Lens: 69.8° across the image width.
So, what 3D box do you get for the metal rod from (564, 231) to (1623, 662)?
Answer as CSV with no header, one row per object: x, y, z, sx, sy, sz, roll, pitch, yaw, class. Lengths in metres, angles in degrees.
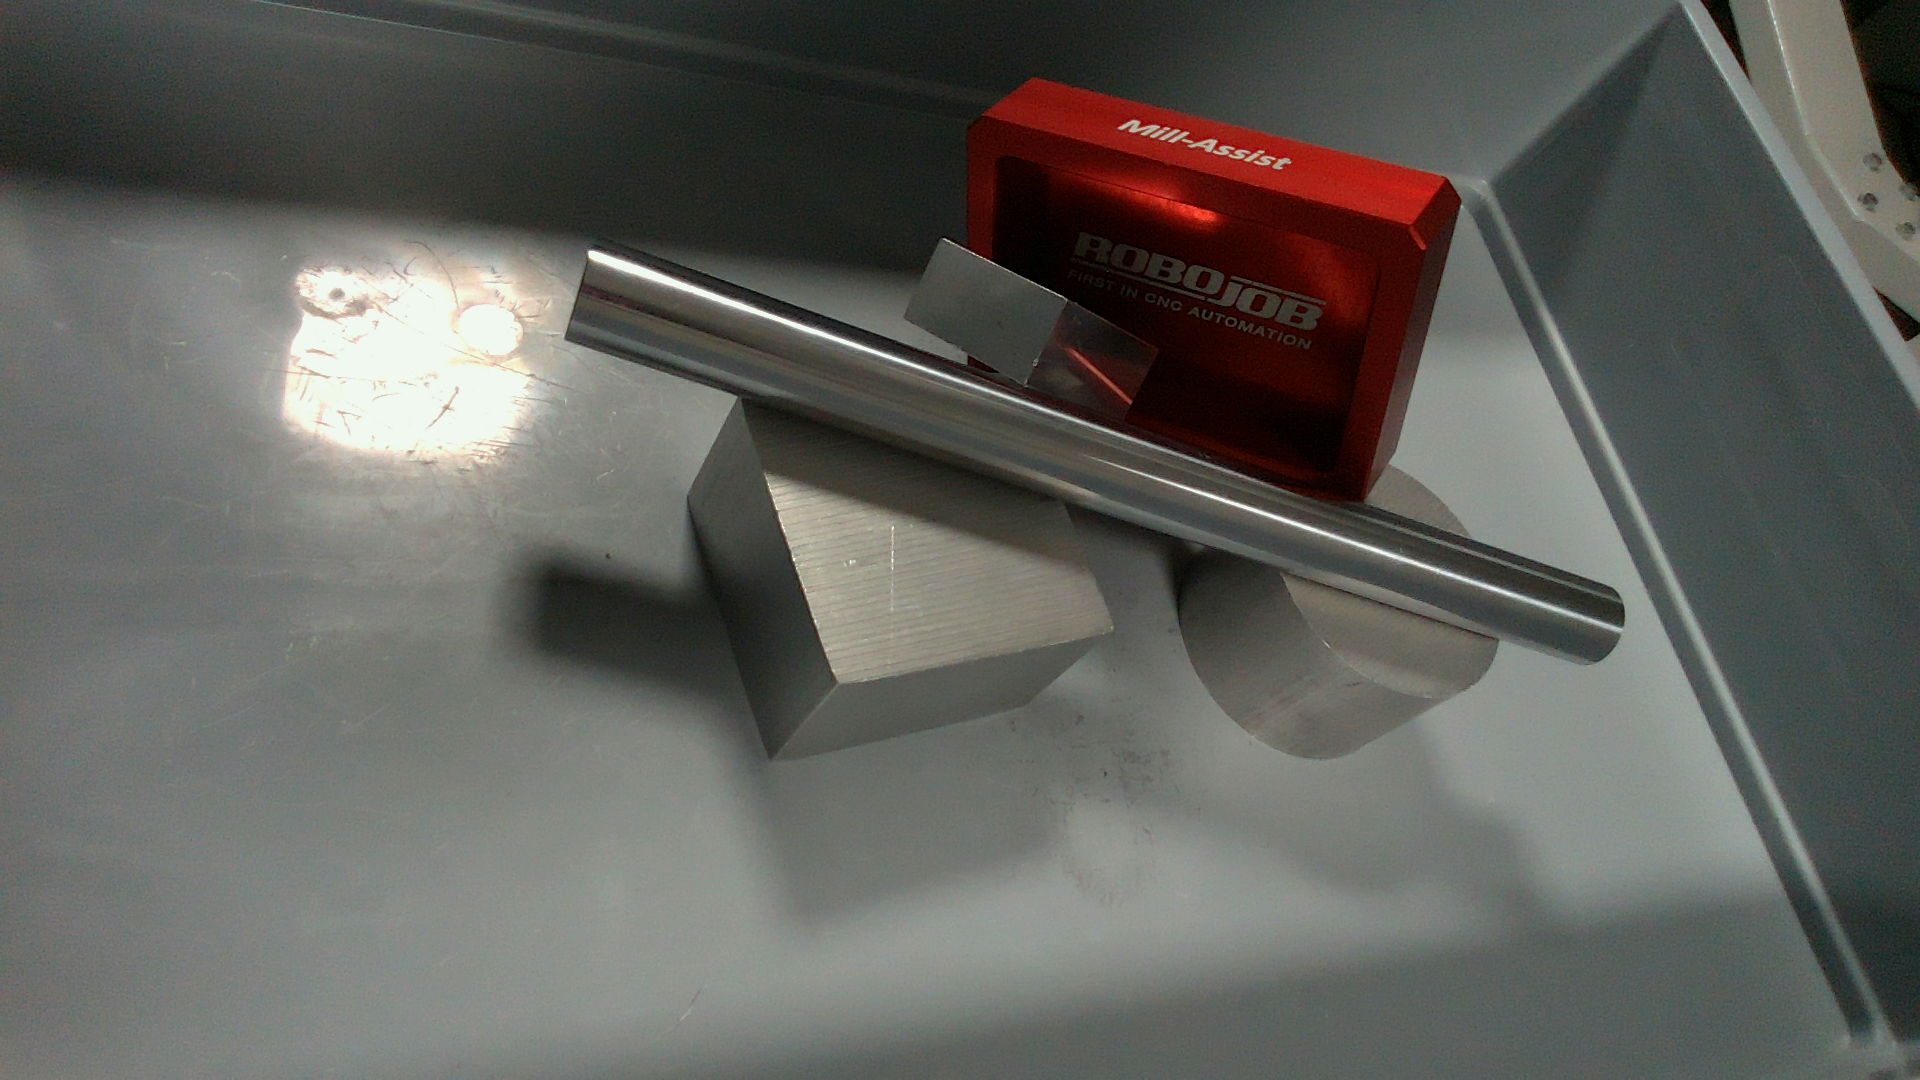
0.050,-0.017,0.360,0.301,0.025,0.025,17,55,-19,metal rod

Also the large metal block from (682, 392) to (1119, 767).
-0.018,0.005,0.360,0.080,0.050,0.080,-8,66,-32,large metal block

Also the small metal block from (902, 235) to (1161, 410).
0.021,-0.059,0.393,0.050,0.025,0.050,33,11,37,small metal block

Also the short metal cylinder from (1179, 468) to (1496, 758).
0.115,0.021,0.421,0.080,0.050,0.080,14,56,-21,short metal cylinder

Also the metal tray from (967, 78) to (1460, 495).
0.065,-0.071,0.393,0.130,0.090,0.030,22,46,23,metal tray
